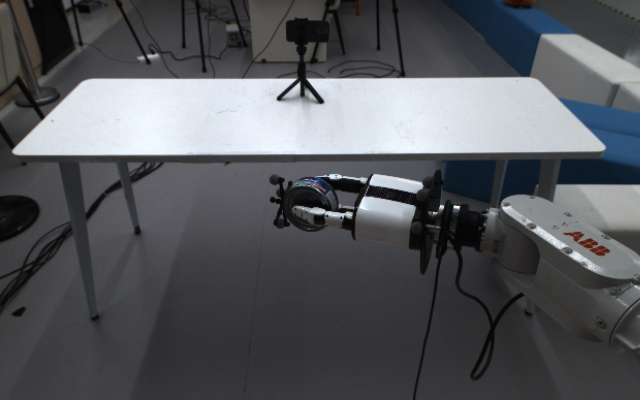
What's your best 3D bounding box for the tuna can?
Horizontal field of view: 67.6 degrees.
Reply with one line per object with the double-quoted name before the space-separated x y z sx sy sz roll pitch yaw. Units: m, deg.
"tuna can" -0.015 0.005 0.778 0.085 0.085 0.034 12 28 14
